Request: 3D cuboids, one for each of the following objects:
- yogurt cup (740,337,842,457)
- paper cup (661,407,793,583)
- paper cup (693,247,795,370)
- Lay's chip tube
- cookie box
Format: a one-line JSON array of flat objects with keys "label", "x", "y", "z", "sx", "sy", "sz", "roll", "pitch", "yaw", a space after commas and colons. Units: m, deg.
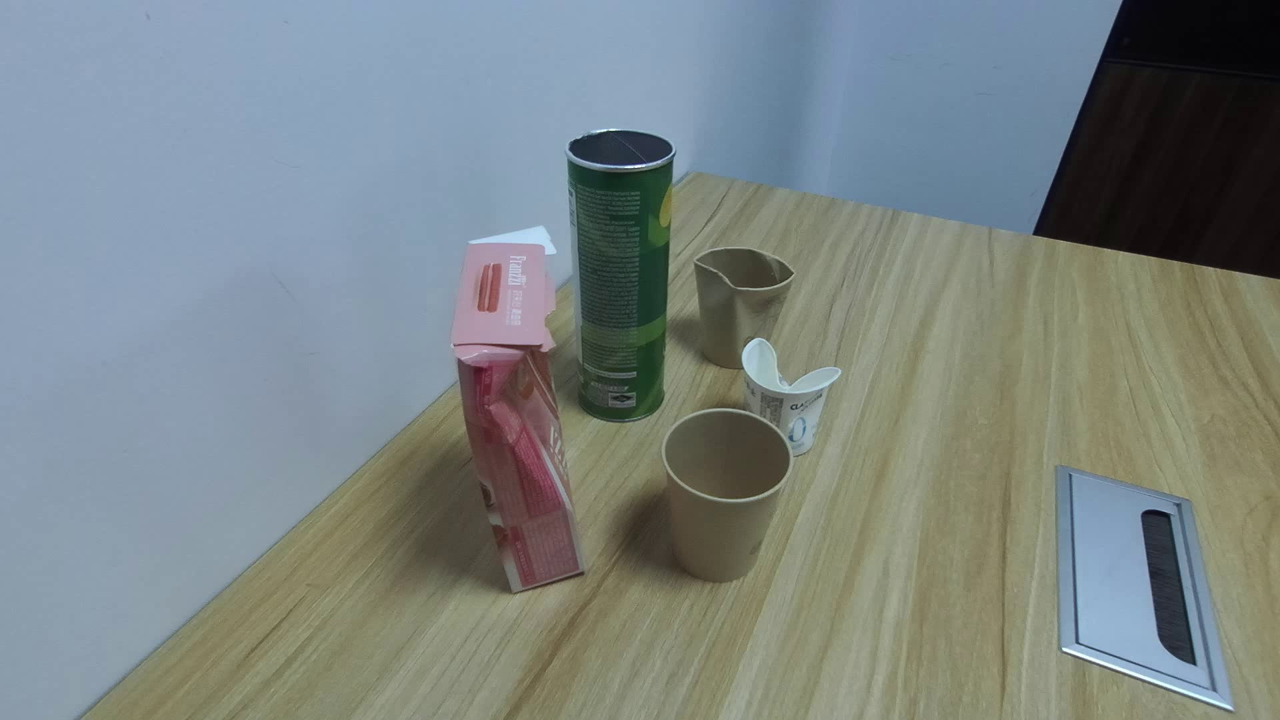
[{"label": "yogurt cup", "x": 0.101, "y": 0.030, "z": 0.502, "sx": 0.067, "sy": 0.070, "sz": 0.067, "roll": 2, "pitch": 38, "yaw": -1}, {"label": "paper cup", "x": 0.048, "y": 0.084, "z": 0.417, "sx": 0.075, "sy": 0.082, "sz": 0.075, "roll": 2, "pitch": 37, "yaw": -1}, {"label": "paper cup", "x": 0.083, "y": -0.042, "z": 0.586, "sx": 0.066, "sy": 0.084, "sz": 0.071, "roll": -19, "pitch": 40, "yaw": -28}, {"label": "Lay's chip tube", "x": -0.013, "y": -0.054, "z": 0.499, "sx": 0.071, "sy": 0.203, "sz": 0.071, "roll": 1, "pitch": 36, "yaw": -1}, {"label": "cookie box", "x": -0.066, "y": 0.035, "z": 0.396, "sx": 0.055, "sy": 0.184, "sz": 0.118, "roll": -6, "pitch": 37, "yaw": -10}]
